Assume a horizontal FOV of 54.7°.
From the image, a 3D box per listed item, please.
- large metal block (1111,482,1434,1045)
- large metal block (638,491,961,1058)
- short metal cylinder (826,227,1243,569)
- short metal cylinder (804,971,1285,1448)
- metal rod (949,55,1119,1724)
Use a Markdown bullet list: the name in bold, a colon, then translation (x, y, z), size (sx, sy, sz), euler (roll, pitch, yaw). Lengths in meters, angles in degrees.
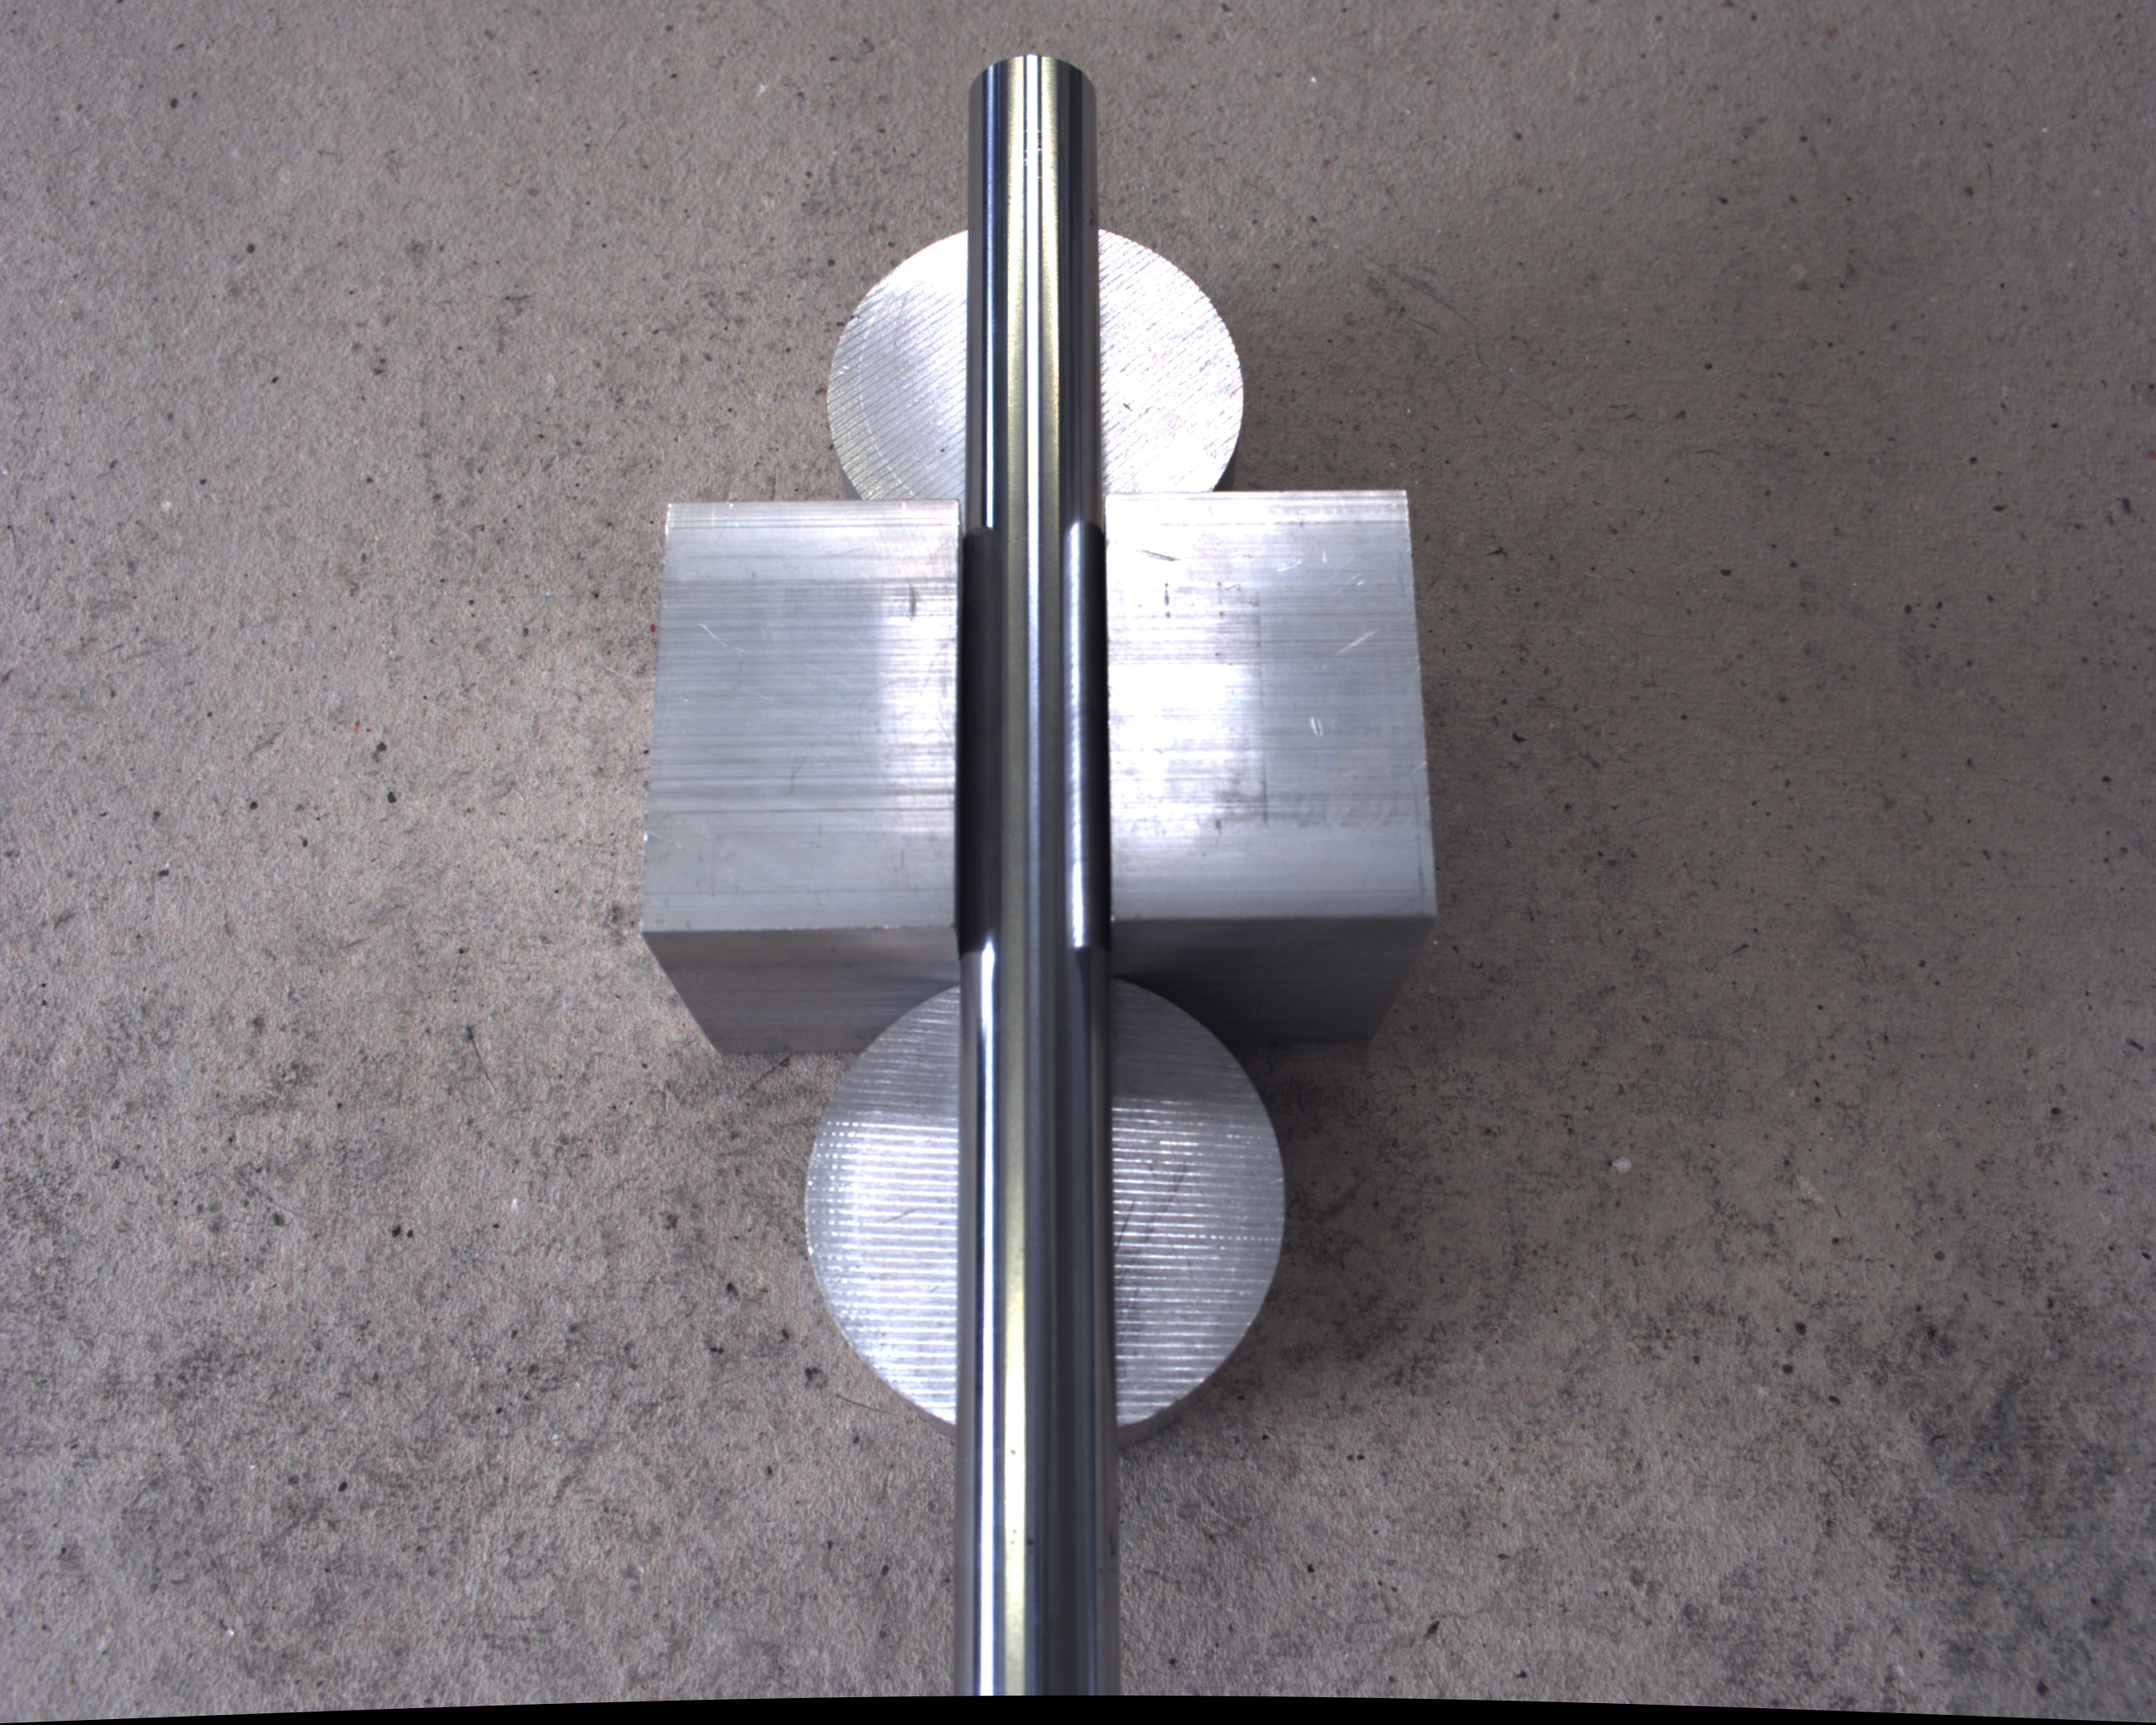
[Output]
- **large metal block**: translation (0.031, -0.015, 0.386), size (0.050, 0.080, 0.080), euler (-1, 70, 0)
- **large metal block**: translation (-0.046, -0.013, 0.384), size (0.050, 0.080, 0.080), euler (-1, 70, 0)
- **short metal cylinder**: translation (-0.008, -0.082, 0.426), size (0.081, 0.050, 0.080), euler (0, 69, 0)
- **short metal cylinder**: translation (-0.006, 0.065, 0.373), size (0.081, 0.050, 0.080), euler (0, 69, 0)
- **metal rod**: translation (-0.008, -0.010, 0.359), size (0.025, 0.025, 0.299), euler (-1, 70, 0)
